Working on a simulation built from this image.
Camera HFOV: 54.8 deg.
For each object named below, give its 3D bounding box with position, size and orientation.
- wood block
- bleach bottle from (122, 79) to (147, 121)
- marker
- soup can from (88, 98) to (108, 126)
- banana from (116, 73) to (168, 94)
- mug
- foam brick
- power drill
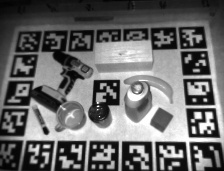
[{"bbox_3d":[0.033,-0.115,0.806,0.206,0.091,0.089,-2,71,4],"label":"wood block"},{"bbox_3d":[0.067,0.036,0.661,0.067,0.252,0.103,27,74,16],"label":"bleach bottle"},{"bbox_3d":[-0.268,0.120,0.783,0.020,0.020,0.120,-30,71,-3],"label":"marker"},{"bbox_3d":[-0.051,0.091,0.723,0.068,0.102,0.067,-1,66,4],"label":"soup can"},{"bbox_3d":[0.114,-0.026,0.790,0.196,0.039,0.074,14,86,7],"label":"banana"},{"bbox_3d":[-0.157,0.103,0.744,0.092,0.082,0.117,42,82,15],"label":"mug"},{"bbox_3d":[0.154,0.108,0.722,0.052,0.078,0.051,31,74,18],"label":"foam brick"},{"bbox_3d":[-0.200,-0.026,0.814,0.183,0.057,0.187,28,73,10],"label":"power drill"}]
